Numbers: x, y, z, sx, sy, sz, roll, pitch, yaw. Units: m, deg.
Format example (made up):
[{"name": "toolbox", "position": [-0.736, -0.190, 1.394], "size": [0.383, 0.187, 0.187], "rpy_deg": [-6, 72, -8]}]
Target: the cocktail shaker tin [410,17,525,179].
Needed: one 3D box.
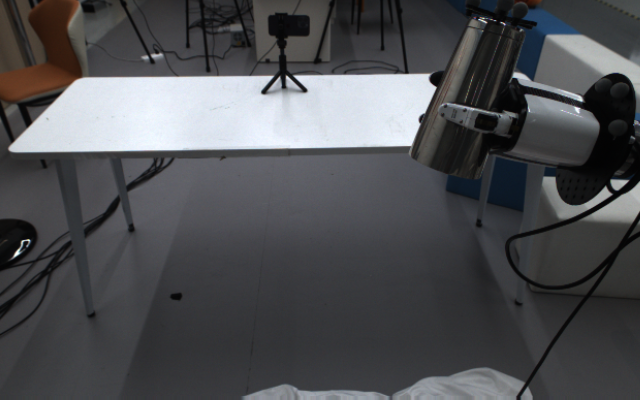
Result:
[{"name": "cocktail shaker tin", "position": [0.179, -0.122, 0.575], "size": [0.093, 0.170, 0.093], "rpy_deg": [15, 19, -5]}]
